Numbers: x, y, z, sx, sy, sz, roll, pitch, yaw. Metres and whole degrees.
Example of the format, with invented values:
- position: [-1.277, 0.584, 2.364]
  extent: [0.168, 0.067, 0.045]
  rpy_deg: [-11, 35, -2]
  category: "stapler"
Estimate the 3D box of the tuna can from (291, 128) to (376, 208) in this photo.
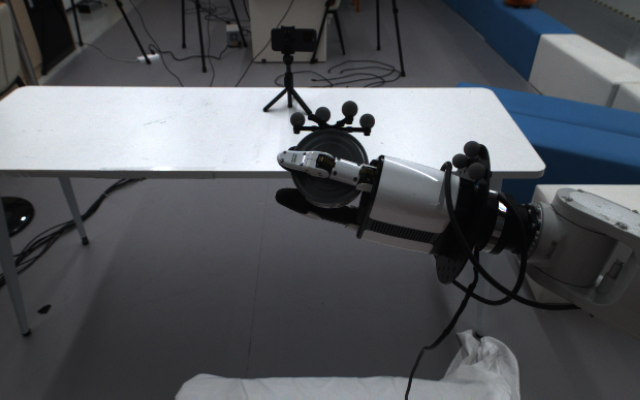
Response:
- position: [0.012, -0.035, 0.543]
  extent: [0.085, 0.034, 0.085]
  rpy_deg: [-1, 76, 4]
  category: "tuna can"
